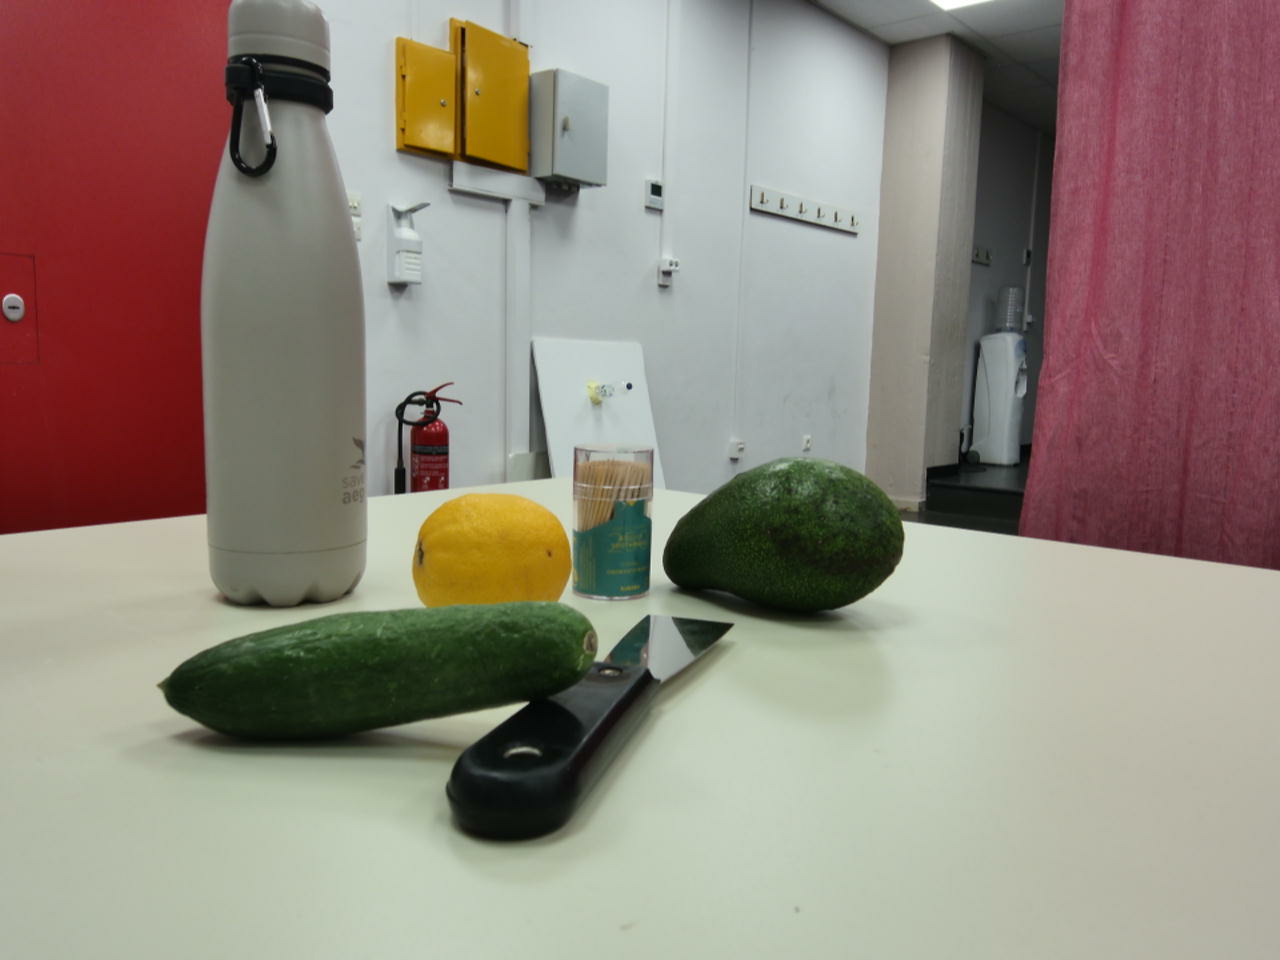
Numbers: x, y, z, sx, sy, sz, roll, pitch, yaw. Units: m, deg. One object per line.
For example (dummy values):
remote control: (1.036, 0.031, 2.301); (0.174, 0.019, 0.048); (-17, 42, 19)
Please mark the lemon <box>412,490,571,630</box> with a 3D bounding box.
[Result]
lemon: (-0.063, 0.034, 0.428); (0.067, 0.059, 0.061); (0, 5, -8)
